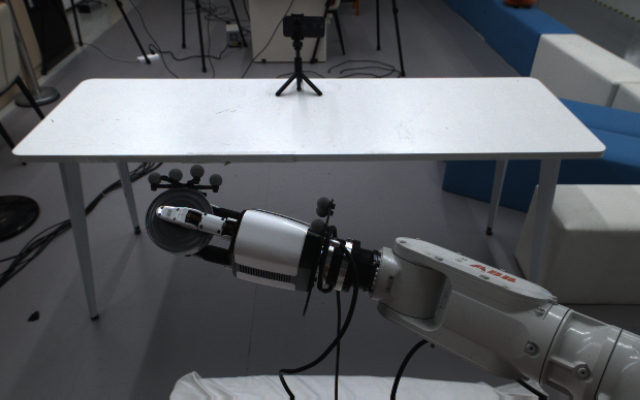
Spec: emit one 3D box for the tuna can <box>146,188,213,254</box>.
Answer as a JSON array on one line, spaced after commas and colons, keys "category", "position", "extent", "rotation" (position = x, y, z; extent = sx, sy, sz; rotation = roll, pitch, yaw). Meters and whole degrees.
[{"category": "tuna can", "position": [-0.176, 0.031, 0.631], "extent": [0.085, 0.034, 0.085], "rotation": [1, 73, -5]}]
